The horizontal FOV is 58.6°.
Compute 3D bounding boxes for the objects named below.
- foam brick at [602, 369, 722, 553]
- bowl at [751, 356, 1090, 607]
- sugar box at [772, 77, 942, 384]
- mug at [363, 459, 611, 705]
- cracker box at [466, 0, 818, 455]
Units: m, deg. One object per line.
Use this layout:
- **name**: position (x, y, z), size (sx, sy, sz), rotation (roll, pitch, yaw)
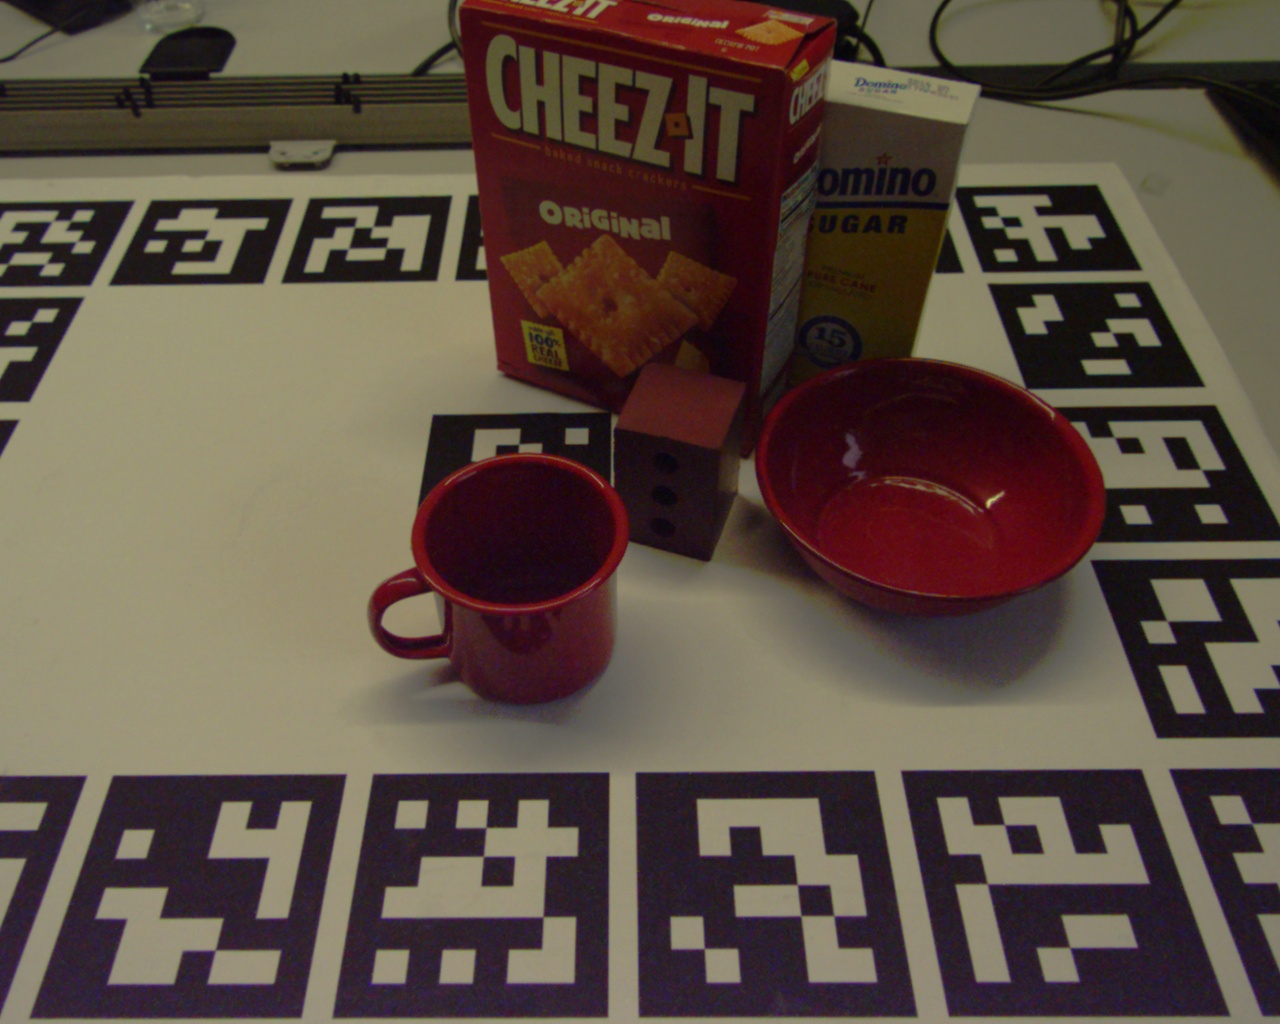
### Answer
- **foam brick**: position (0.012, -0.026, 0.599), size (0.053, 0.078, 0.051), rotation (11, 47, 11)
- **bowl**: position (0.135, -0.007, 0.573), size (0.162, 0.055, 0.162), rotation (-1, 48, 0)
- **sugar box**: position (0.105, -0.148, 0.636), size (0.093, 0.176, 0.045), rotation (15, 49, 15)
- **mug**: position (-0.069, 0.036, 0.529), size (0.117, 0.081, 0.094), rotation (-8, 39, -4)
- **cracker box**: position (-0.006, -0.149, 0.616), size (0.166, 0.213, 0.071), rotation (23, 49, 19)
